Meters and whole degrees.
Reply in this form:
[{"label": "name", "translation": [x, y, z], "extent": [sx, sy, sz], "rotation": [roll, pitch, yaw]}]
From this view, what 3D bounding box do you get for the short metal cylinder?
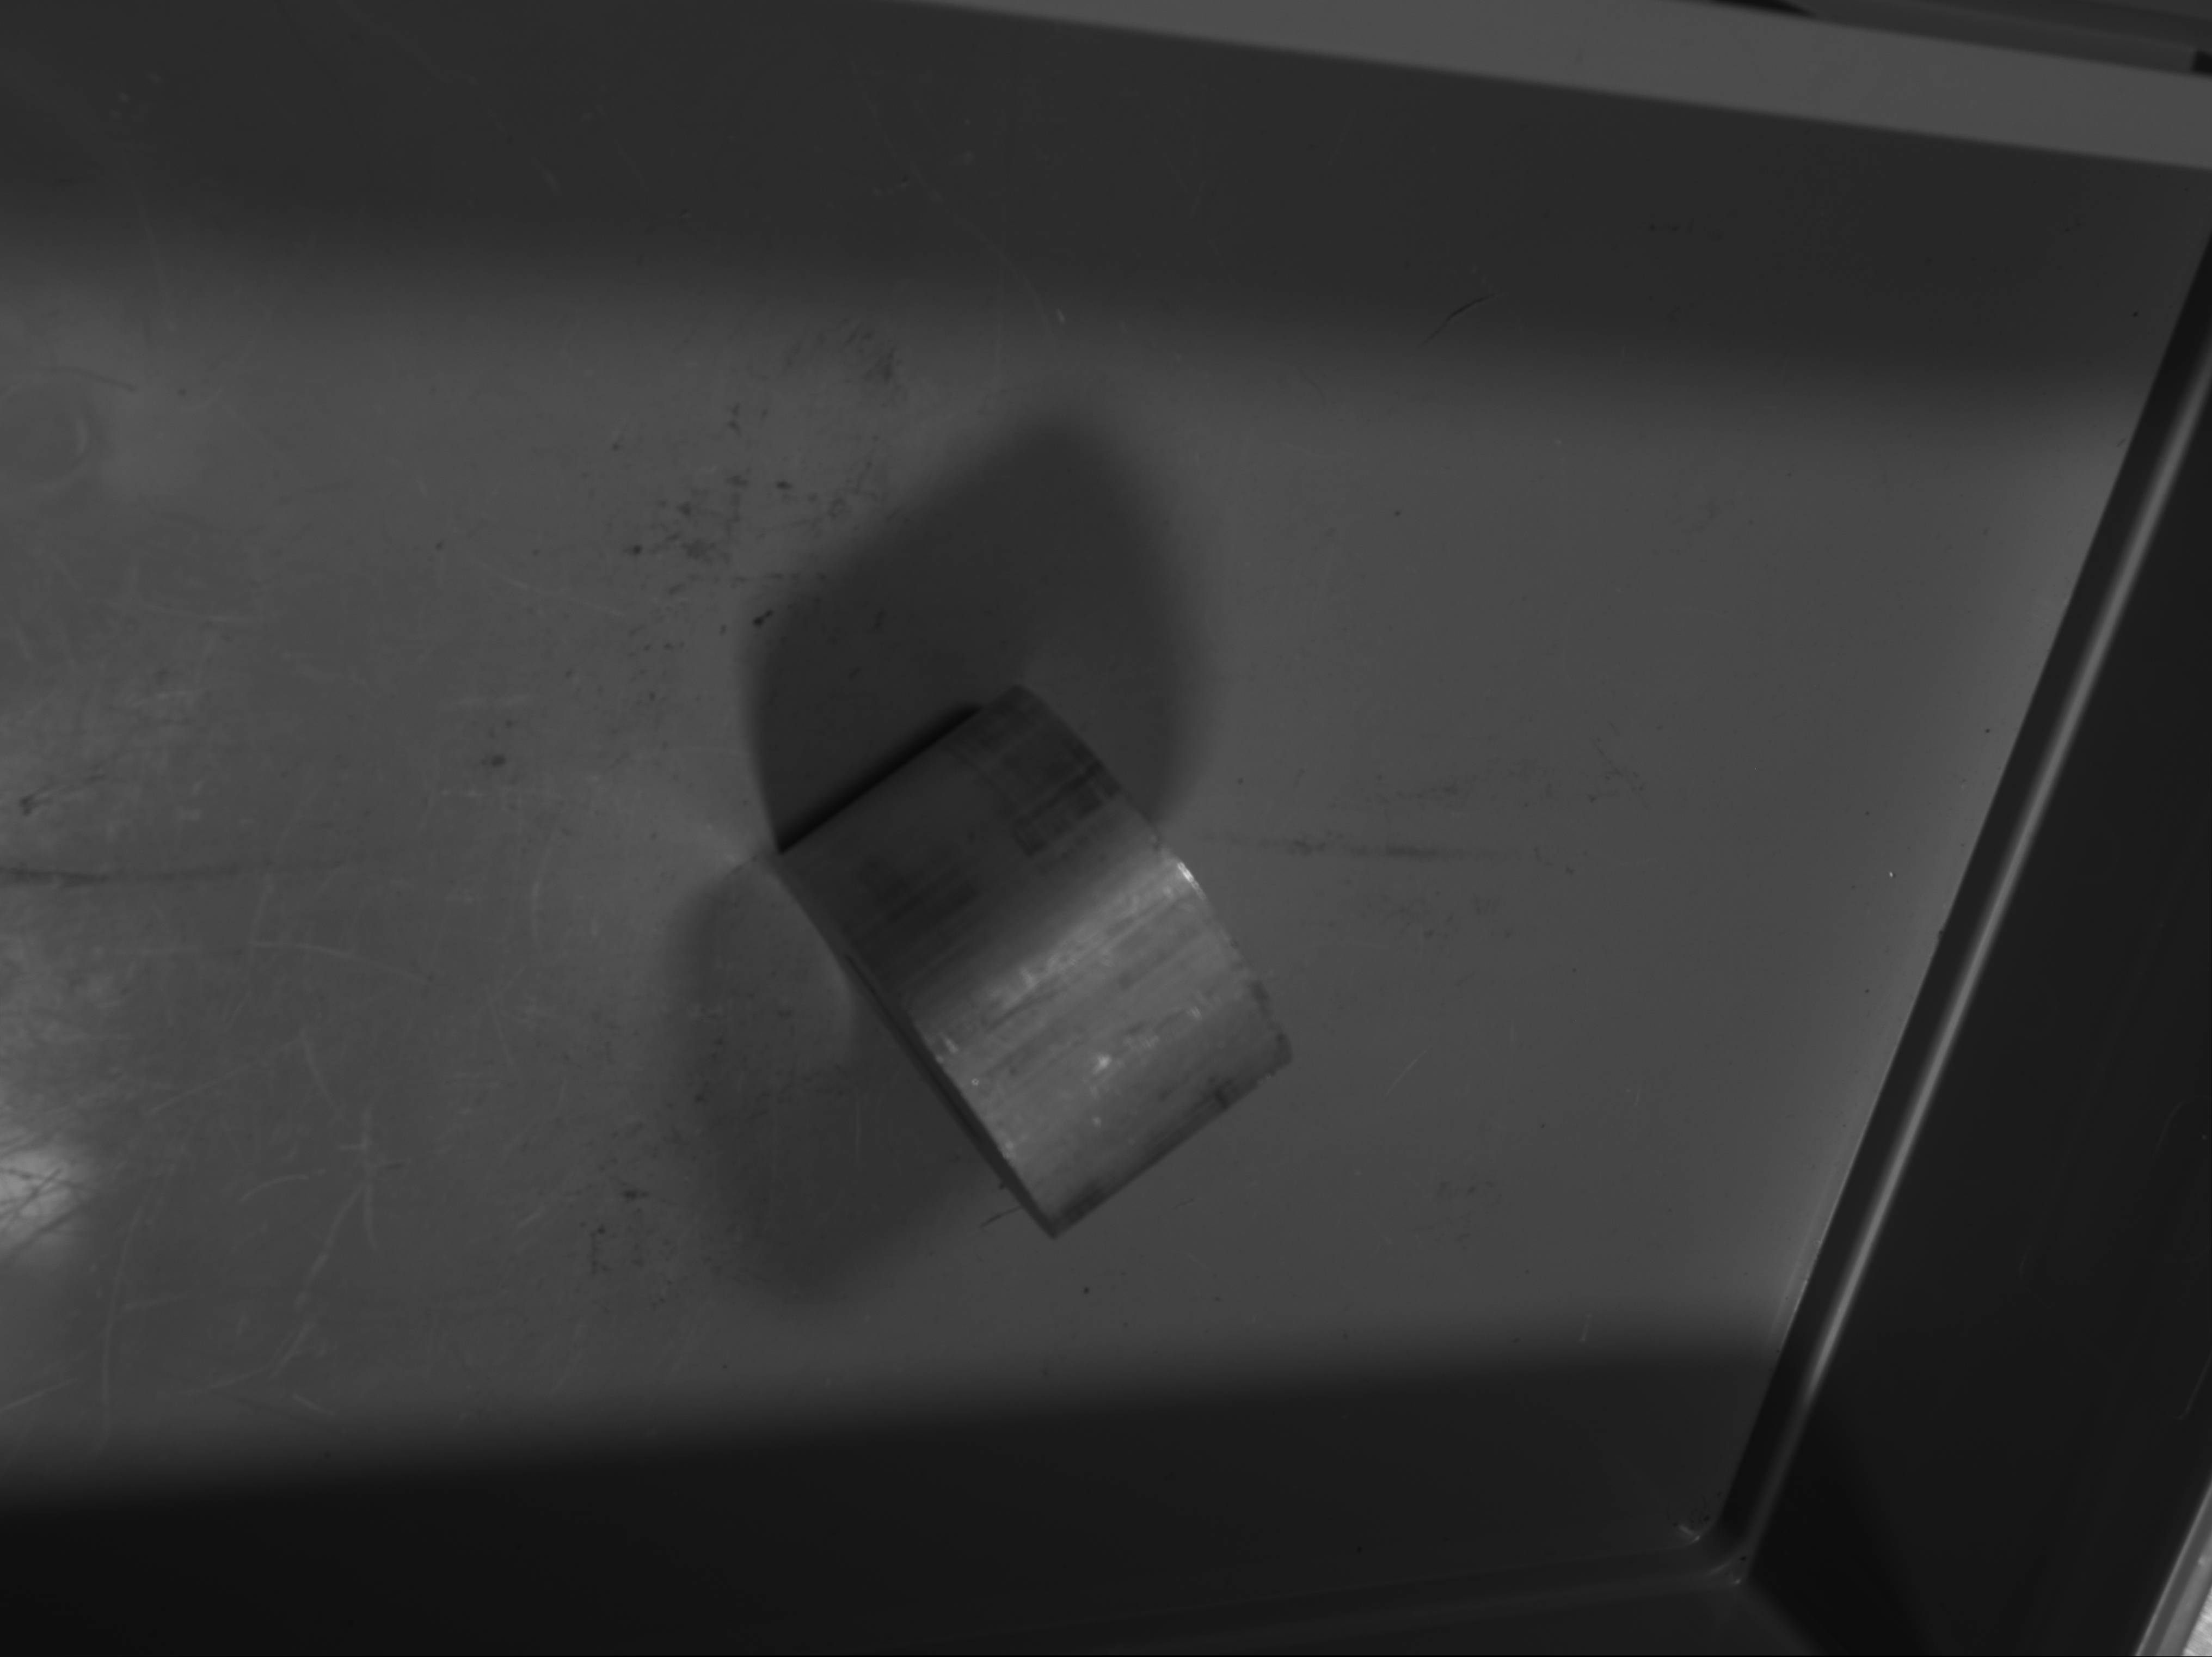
[{"label": "short metal cylinder", "translation": [-0.006, 0.023, 0.623], "extent": [0.050, 0.080, 0.080], "rotation": [-36, 130, -6]}]
